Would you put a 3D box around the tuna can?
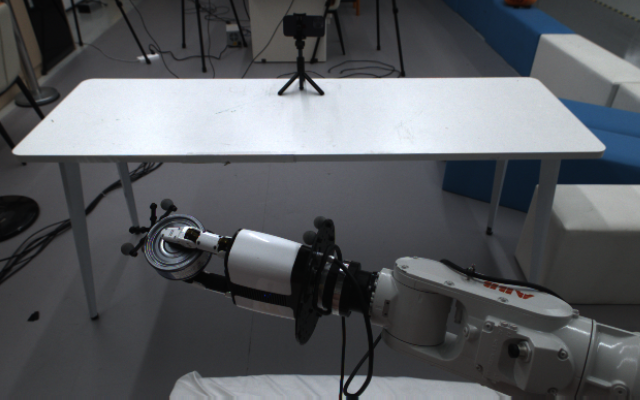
[{"bbox_3d":[-0.186,0.067,0.649,0.085,0.034,0.085,-1,63,1],"label":"tuna can"}]
